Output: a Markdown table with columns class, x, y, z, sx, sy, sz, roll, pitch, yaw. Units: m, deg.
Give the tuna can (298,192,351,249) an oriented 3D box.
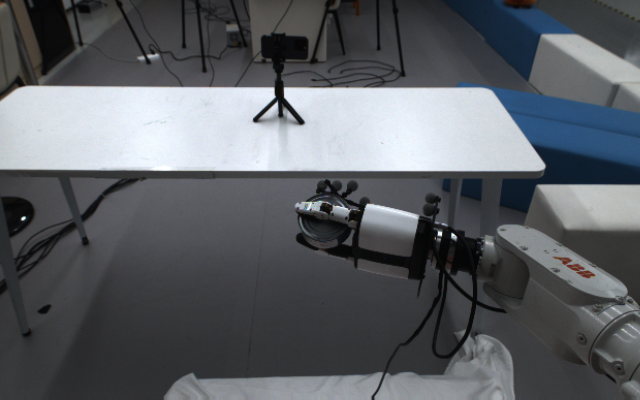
| class | x | y | z | sx | sy | sz | roll | pitch | yaw |
| --- | --- | --- | --- | --- | --- | --- | --- | --- | --- |
| tuna can | 0.009 | 0.031 | 0.770 | 0.085 | 0.034 | 0.085 | -4 | 56 | 6 |
